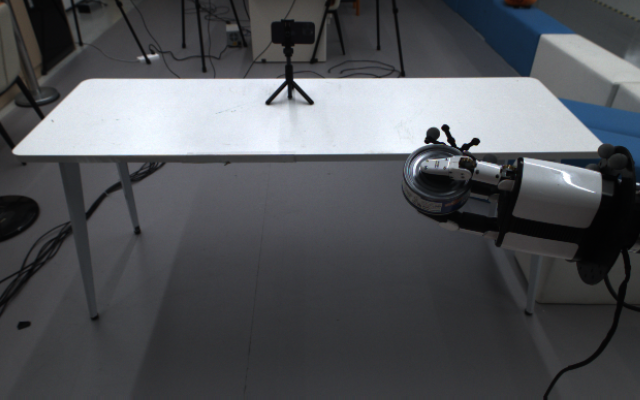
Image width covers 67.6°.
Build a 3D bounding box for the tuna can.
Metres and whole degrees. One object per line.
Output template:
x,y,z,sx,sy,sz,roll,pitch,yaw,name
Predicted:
0.146,-0.029,0.594,0.085,0.034,0.085,-4,58,6,tuna can
